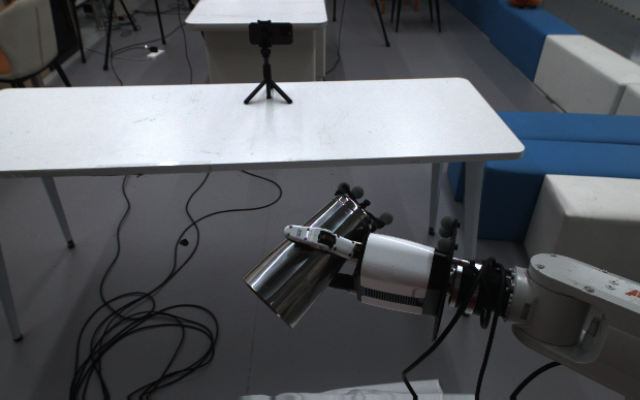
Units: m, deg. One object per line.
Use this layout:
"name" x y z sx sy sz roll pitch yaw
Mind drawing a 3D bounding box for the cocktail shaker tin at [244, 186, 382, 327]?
"cocktail shaker tin" -0.010 0.071 0.639 0.170 0.093 0.093 -43 50 -14
